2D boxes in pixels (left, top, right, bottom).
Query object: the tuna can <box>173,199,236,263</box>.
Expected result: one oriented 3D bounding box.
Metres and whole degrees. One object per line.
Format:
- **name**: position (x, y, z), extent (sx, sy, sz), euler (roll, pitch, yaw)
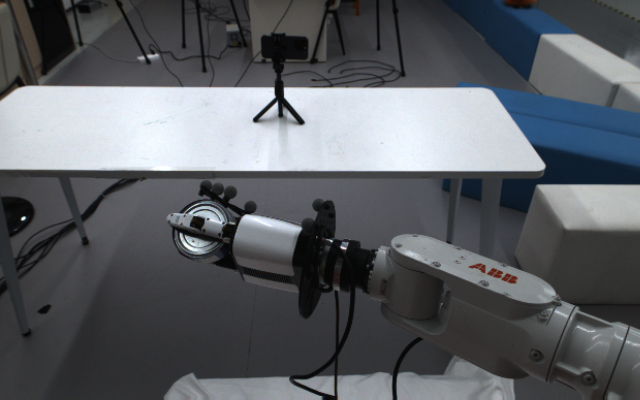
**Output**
- **tuna can**: position (-0.158, 0.044, 0.675), extent (0.085, 0.034, 0.085), euler (-4, 67, 10)
